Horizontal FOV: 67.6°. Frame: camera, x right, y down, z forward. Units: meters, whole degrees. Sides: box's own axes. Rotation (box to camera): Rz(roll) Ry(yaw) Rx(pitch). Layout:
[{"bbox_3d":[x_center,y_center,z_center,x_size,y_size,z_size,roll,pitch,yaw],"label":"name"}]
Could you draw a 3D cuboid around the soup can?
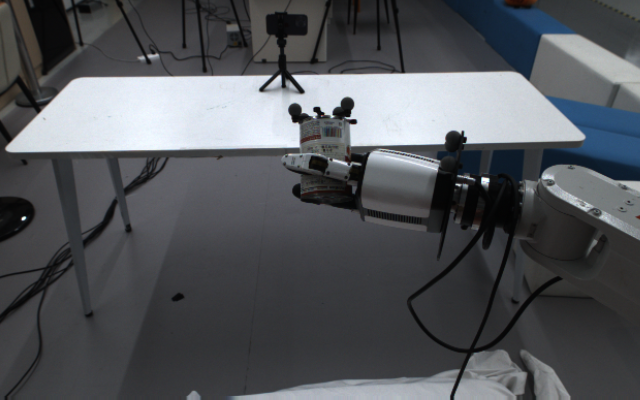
[{"bbox_3d":[0.008,-0.050,0.620,0.067,0.101,0.067,-1,-9,0],"label":"soup can"}]
